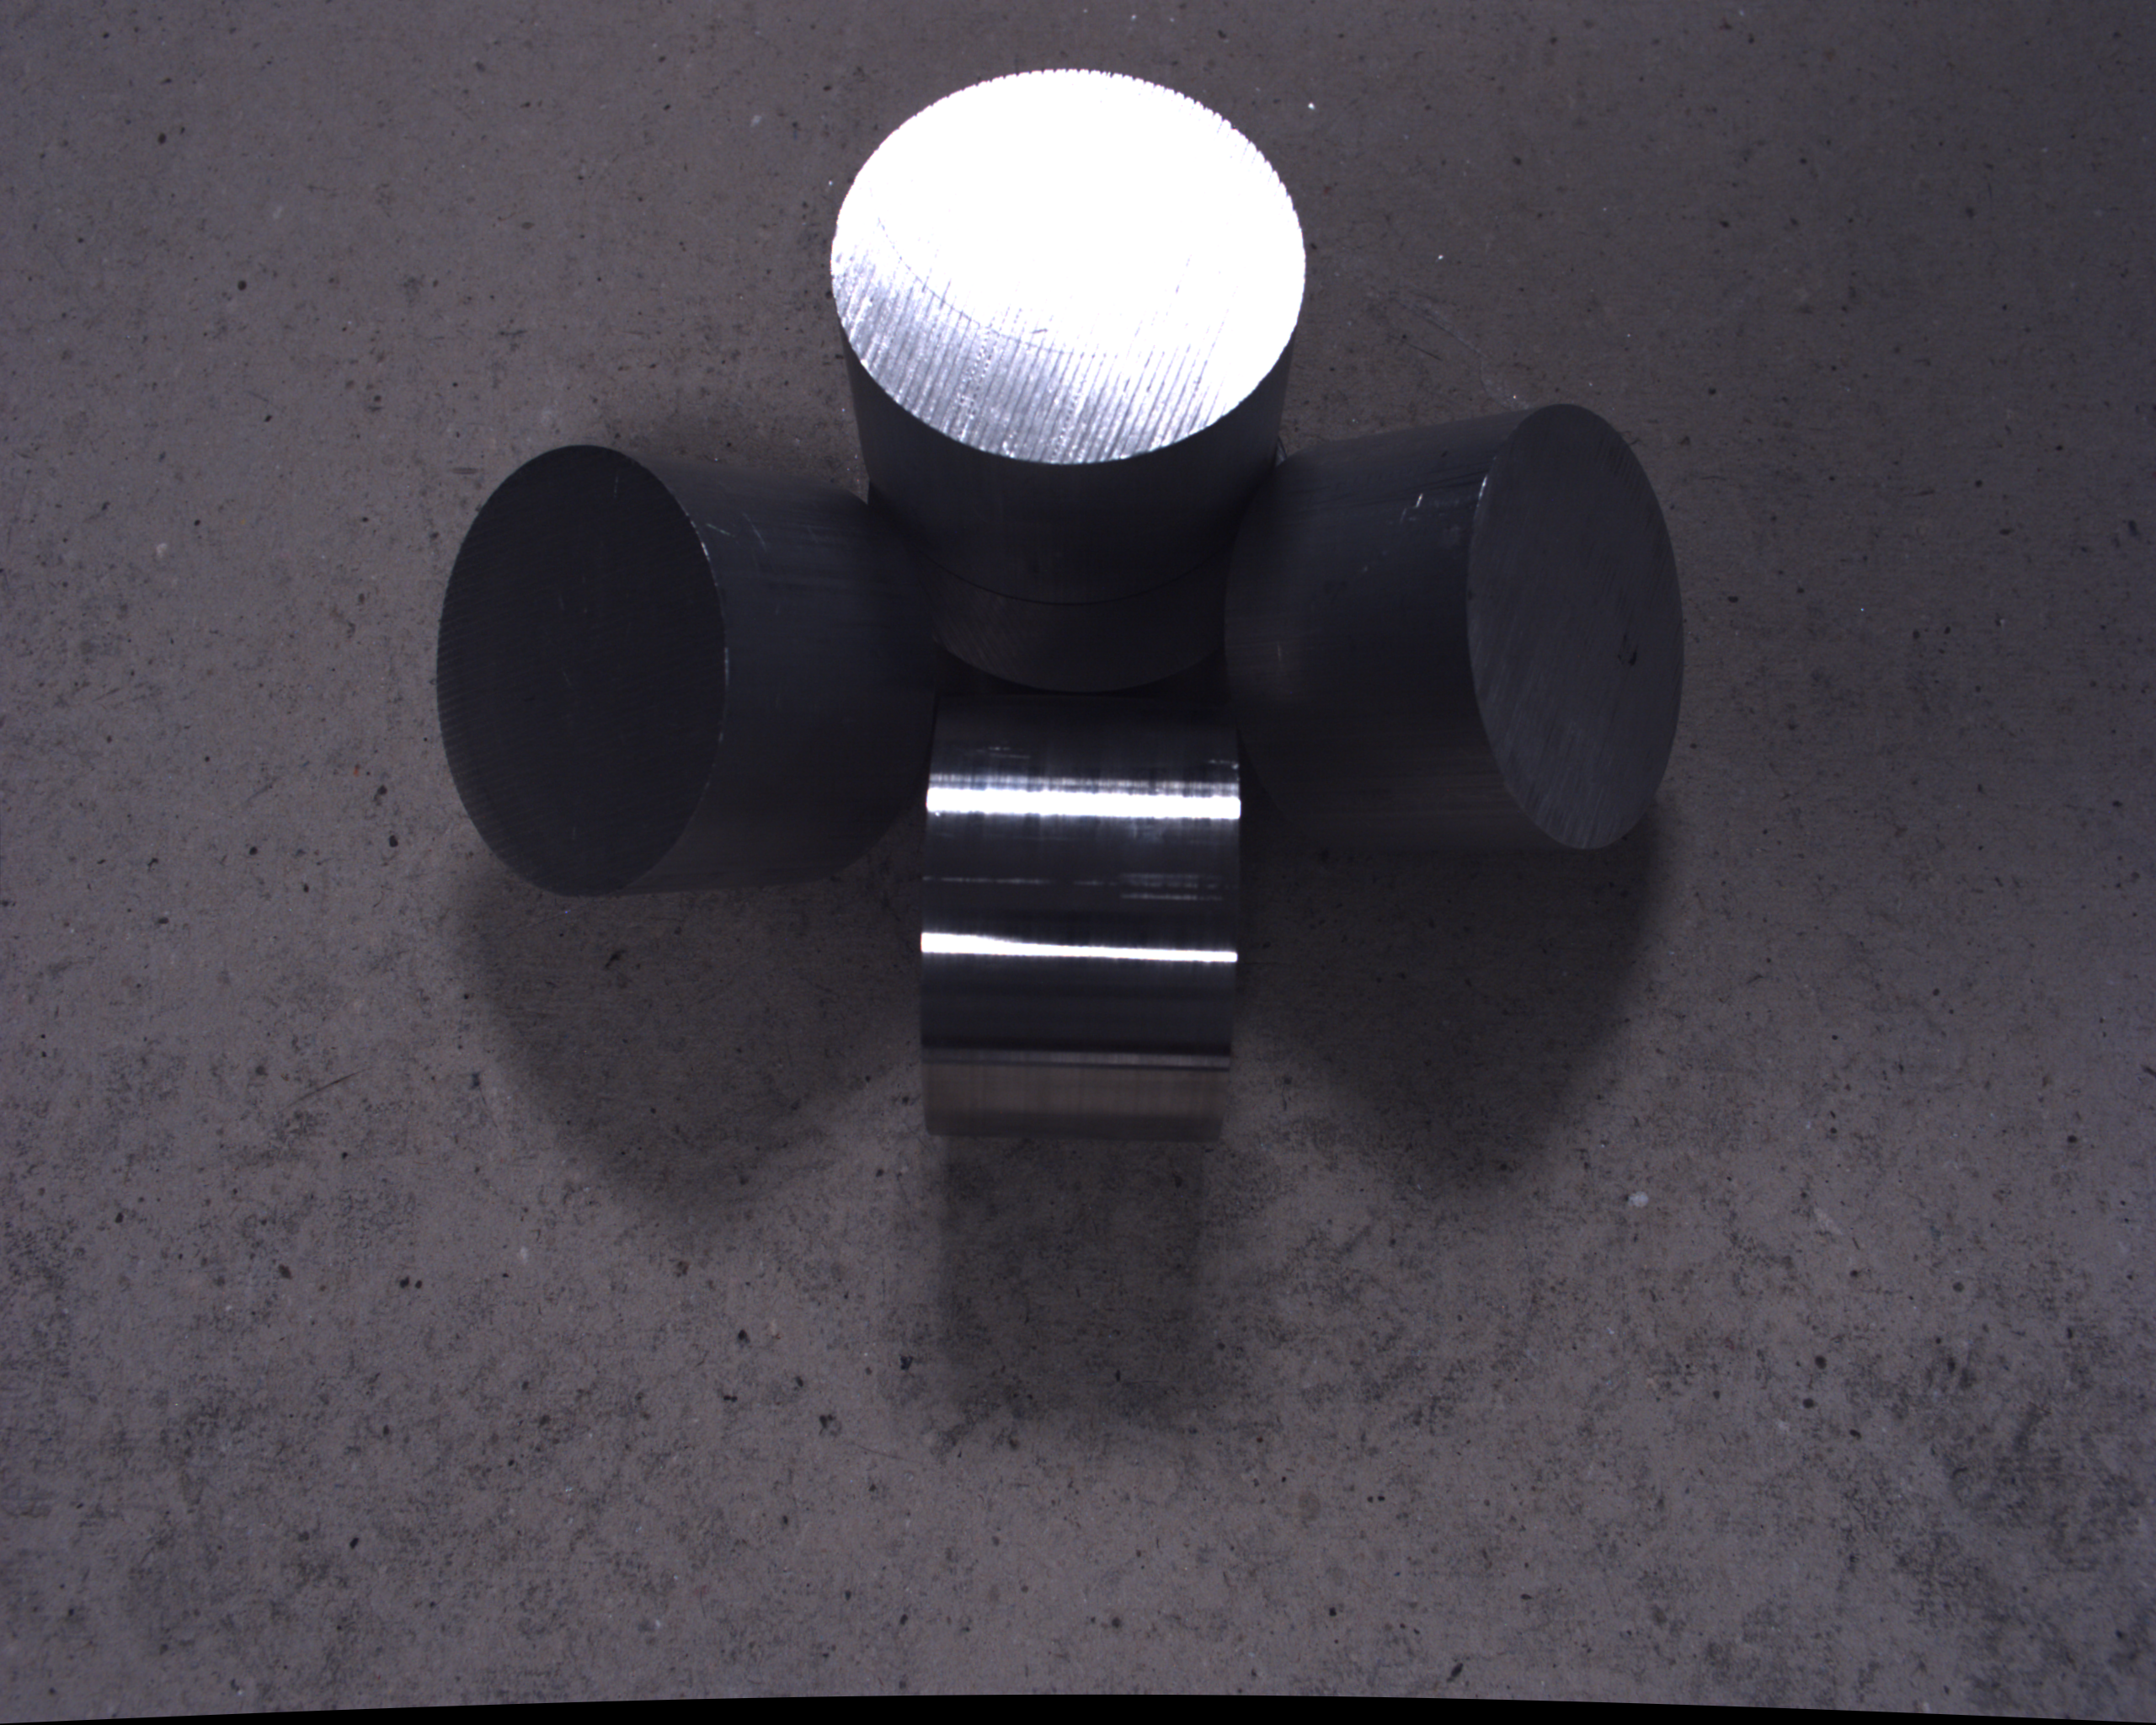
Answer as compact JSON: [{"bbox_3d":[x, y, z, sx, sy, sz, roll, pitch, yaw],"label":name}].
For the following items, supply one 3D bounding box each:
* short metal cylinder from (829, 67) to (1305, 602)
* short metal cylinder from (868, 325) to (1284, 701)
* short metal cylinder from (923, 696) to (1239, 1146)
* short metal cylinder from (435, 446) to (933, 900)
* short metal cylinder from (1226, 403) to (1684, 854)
[{"bbox_3d":[-0.002,-0.094,0.377,0.081,0.050,0.080,0,70,0],"label":"short metal cylinder"},{"bbox_3d":[0.000,-0.060,0.418,0.081,0.050,0.080,0,70,0],"label":"short metal cylinder"},{"bbox_3d":[0.001,0.010,0.375,0.050,0.080,0.080,2,70,0],"label":"short metal cylinder"},{"bbox_3d":[-0.074,-0.034,0.386,0.080,0.050,0.079,2,93,38],"label":"short metal cylinder"},{"bbox_3d":[0.072,-0.042,0.390,0.050,0.080,0.080,-2,64,41],"label":"short metal cylinder"}]
